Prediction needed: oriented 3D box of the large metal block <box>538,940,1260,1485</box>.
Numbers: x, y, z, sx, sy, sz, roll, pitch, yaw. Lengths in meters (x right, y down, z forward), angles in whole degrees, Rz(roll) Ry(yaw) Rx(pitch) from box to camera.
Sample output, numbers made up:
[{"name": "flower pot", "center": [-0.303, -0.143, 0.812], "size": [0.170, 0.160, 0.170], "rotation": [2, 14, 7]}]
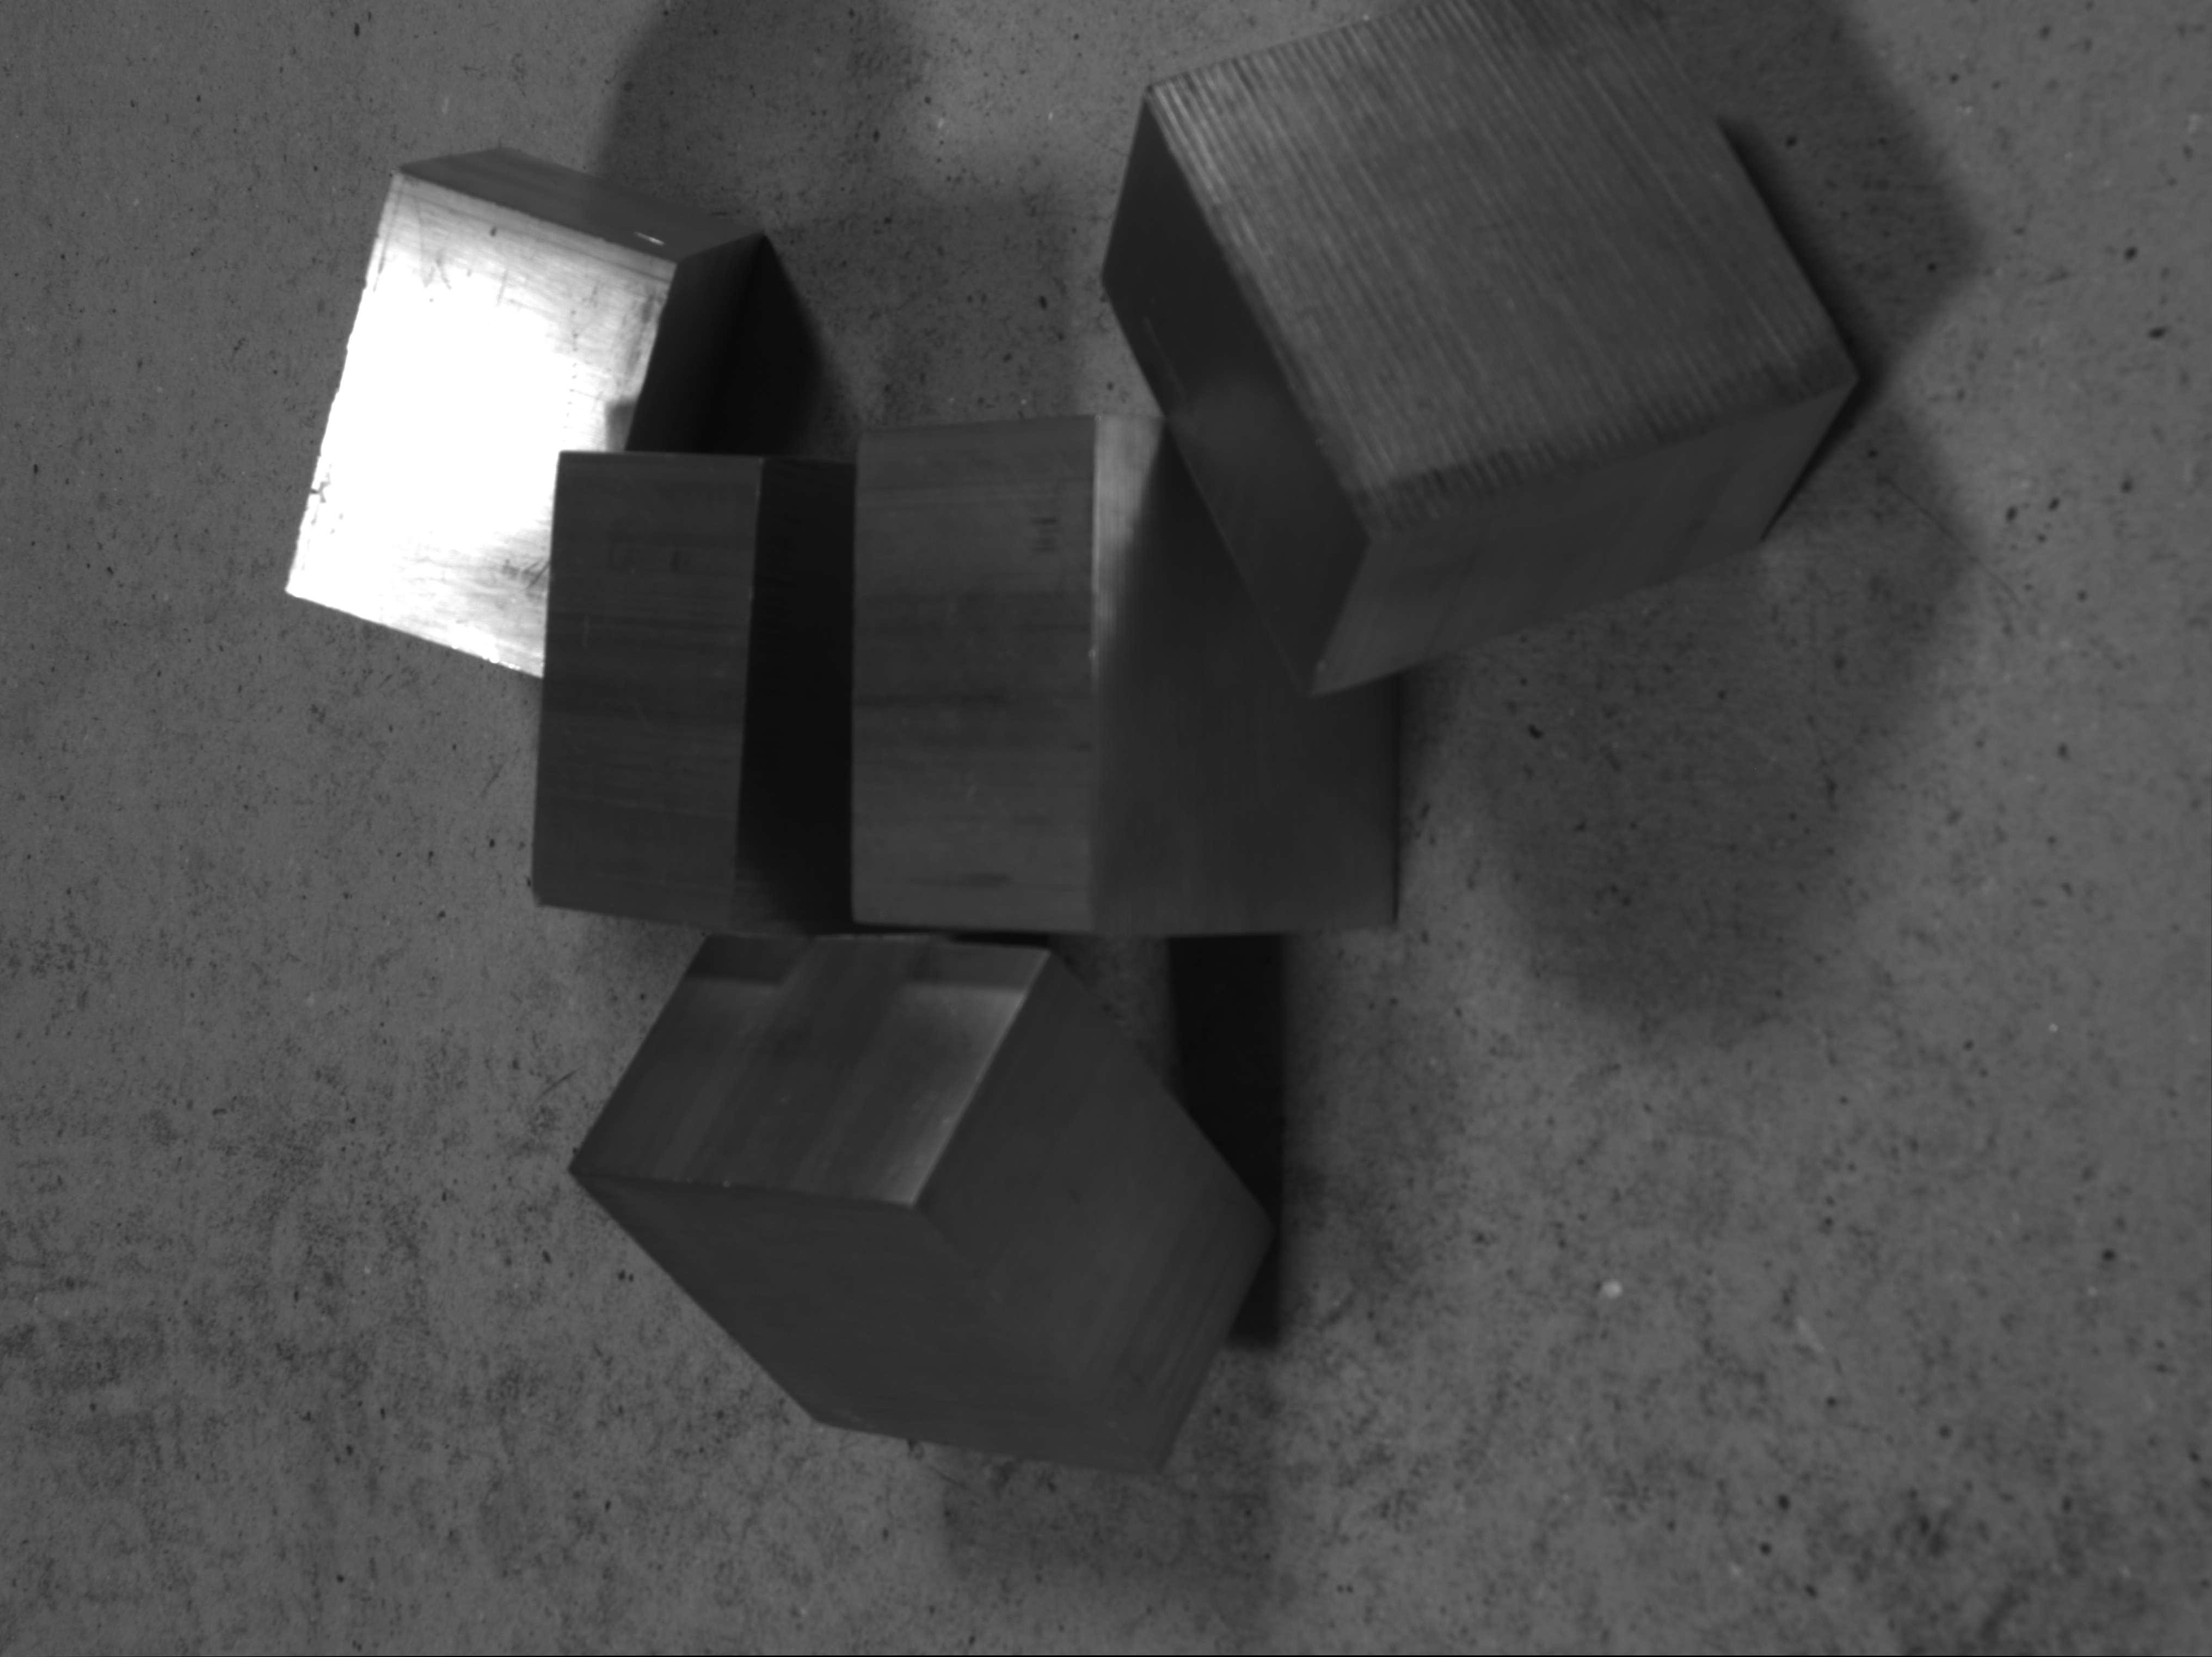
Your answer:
[{"name": "large metal block", "center": [-0.034, 0.064, 0.621], "size": [0.080, 0.080, 0.050], "rotation": [1, 51, 40]}]

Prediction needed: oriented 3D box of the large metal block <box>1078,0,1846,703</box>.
[{"name": "large metal block", "center": [0.051, -0.076, 0.551], "size": [0.050, 0.080, 0.080], "rotation": [108, 140, -64]}]

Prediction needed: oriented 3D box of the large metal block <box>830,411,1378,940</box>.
[{"name": "large metal block", "center": [0.001, -0.023, 0.600], "size": [0.050, 0.080, 0.080], "rotation": [1, 90, 39]}]

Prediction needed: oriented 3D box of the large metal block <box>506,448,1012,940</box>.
[{"name": "large metal block", "center": [-0.057, -0.023, 0.648], "size": [0.050, 0.080, 0.080], "rotation": [6, 94, 39]}]

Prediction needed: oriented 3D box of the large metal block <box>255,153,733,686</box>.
[{"name": "large metal block", "center": [-0.112, -0.078, 0.681], "size": [0.050, 0.080, 0.080], "rotation": [18, 104, 1]}]
